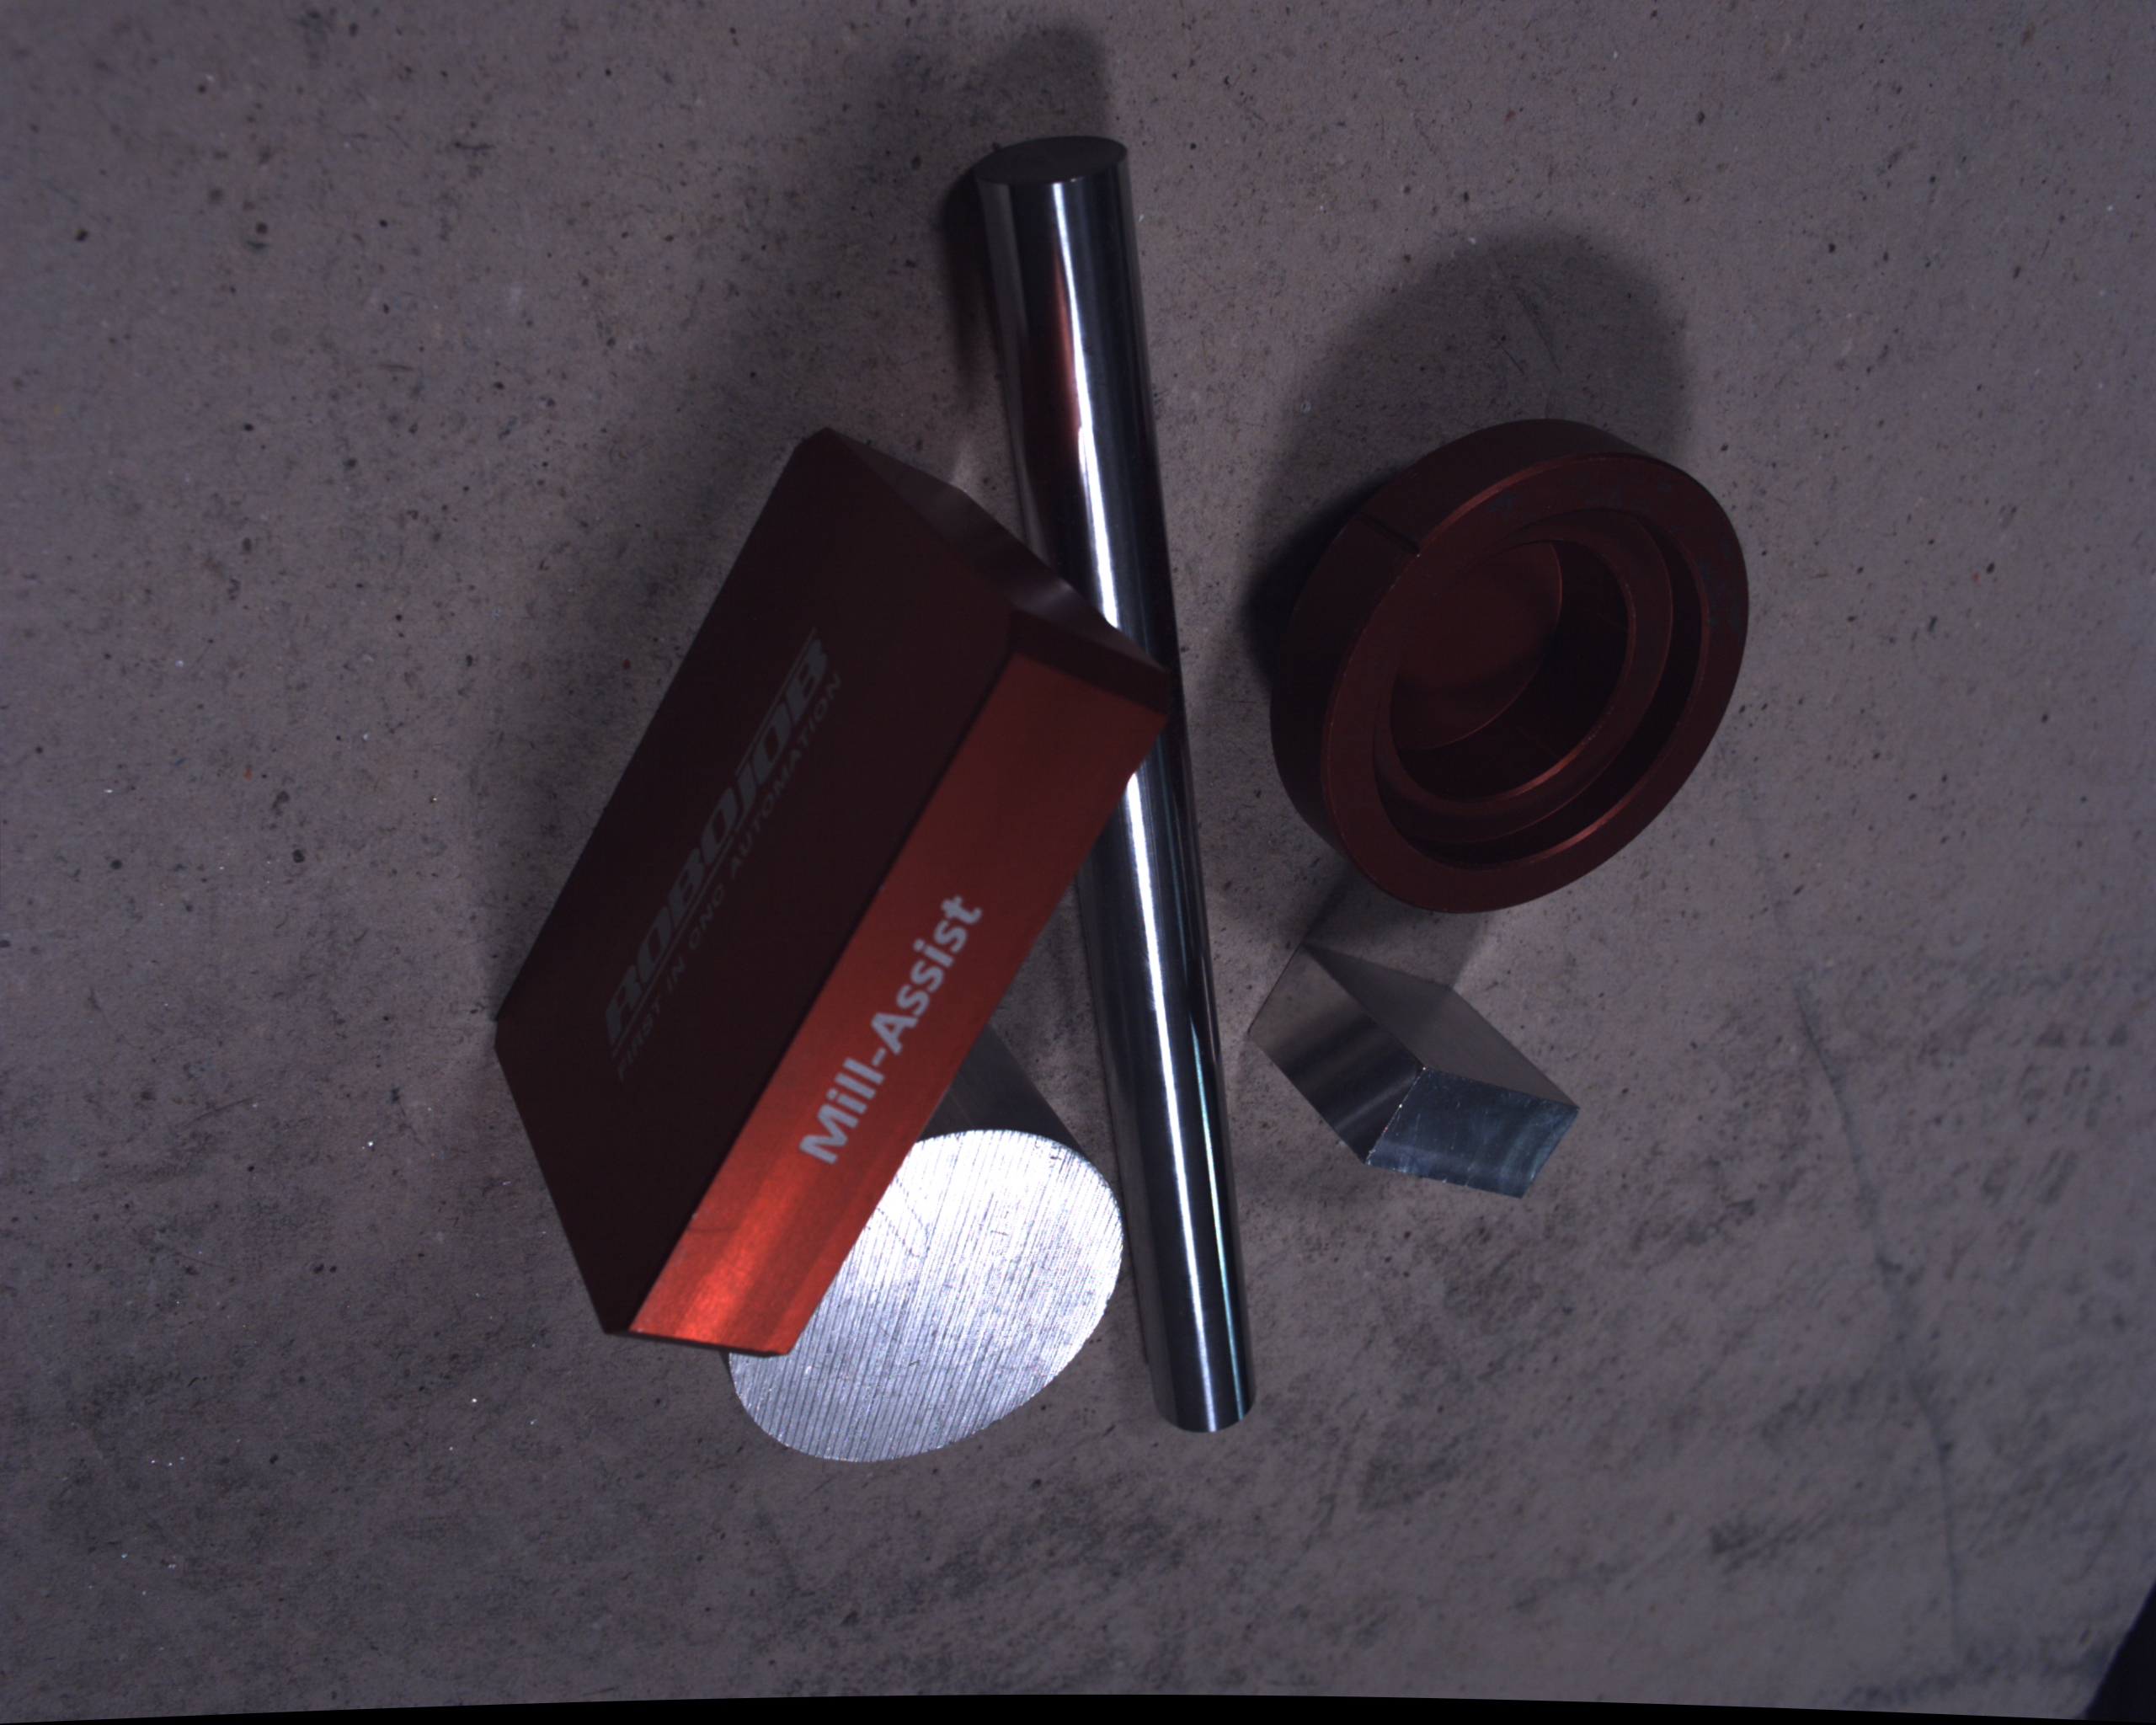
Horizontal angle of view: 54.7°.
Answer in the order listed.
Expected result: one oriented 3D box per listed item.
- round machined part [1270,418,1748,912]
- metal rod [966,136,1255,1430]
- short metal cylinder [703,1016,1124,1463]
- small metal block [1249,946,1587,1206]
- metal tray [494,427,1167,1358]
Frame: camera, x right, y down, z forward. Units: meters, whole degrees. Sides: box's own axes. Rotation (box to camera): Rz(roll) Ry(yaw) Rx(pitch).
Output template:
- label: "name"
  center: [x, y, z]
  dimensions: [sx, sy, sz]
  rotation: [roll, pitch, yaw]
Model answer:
- label: "round machined part"
  center: [0.081, -0.042, 0.417]
  dimensions: [0.099, 0.042, 0.097]
  rotation: [-14, 125, -21]
- label: "metal rod"
  center: [0.013, 0.007, 0.422]
  dimensions: [0.025, 0.025, 0.298]
  rotation: [-21, 127, -17]
- label: "short metal cylinder"
  center: [-0.038, 0.072, 0.417]
  dimensions: [0.081, 0.050, 0.079]
  rotation: [-14, 125, -21]
- label: "small metal block"
  center: [0.074, 0.047, 0.460]
  dimensions: [0.050, 0.050, 0.025]
  rotation: [18, 109, -36]
- label: "metal tray"
  center: [-0.047, 0.003, 0.344]
  dimensions: [0.030, 0.090, 0.129]
  rotation: [20, 108, -36]
